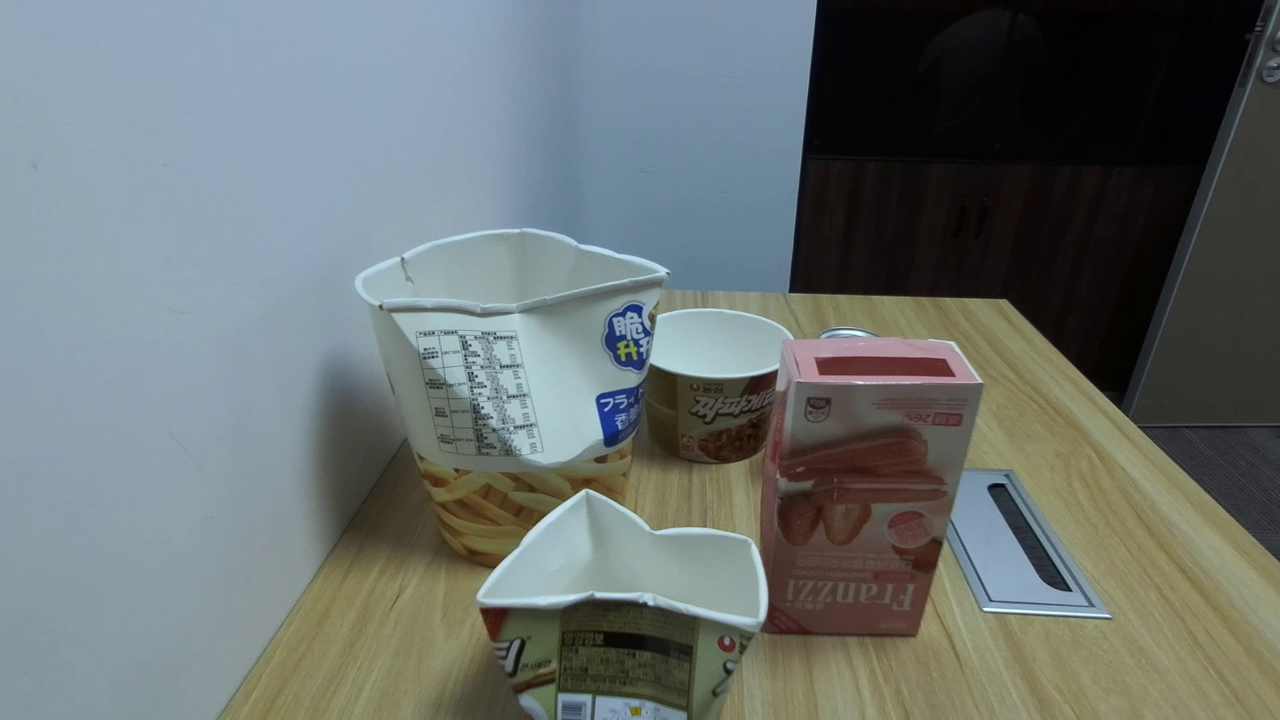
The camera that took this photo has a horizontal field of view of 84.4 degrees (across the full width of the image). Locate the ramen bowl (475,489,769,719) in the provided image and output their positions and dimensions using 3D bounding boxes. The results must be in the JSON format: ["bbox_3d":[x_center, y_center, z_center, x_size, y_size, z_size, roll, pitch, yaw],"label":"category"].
[{"bbox_3d":[-0.001,0.147,0.380,0.128,0.093,0.112,13,30,22],"label":"ramen bowl"}]

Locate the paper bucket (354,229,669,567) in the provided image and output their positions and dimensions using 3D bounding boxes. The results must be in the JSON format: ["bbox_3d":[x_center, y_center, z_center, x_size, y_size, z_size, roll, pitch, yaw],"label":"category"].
[{"bbox_3d":[-0.091,0.028,0.504,0.168,0.202,0.163,20,35,39],"label":"paper bucket"}]

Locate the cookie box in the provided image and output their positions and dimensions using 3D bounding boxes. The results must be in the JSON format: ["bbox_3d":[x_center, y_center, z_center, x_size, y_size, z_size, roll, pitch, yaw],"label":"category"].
[{"bbox_3d":[0.122,0.079,0.412,0.105,0.187,0.049,1,29,1],"label":"cookie box"}]

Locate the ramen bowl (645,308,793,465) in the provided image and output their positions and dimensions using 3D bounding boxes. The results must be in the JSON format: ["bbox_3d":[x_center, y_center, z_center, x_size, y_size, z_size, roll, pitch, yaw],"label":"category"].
[{"bbox_3d":[0.065,0.024,0.627,0.140,0.095,0.140,0,27,0],"label":"ramen bowl"}]
